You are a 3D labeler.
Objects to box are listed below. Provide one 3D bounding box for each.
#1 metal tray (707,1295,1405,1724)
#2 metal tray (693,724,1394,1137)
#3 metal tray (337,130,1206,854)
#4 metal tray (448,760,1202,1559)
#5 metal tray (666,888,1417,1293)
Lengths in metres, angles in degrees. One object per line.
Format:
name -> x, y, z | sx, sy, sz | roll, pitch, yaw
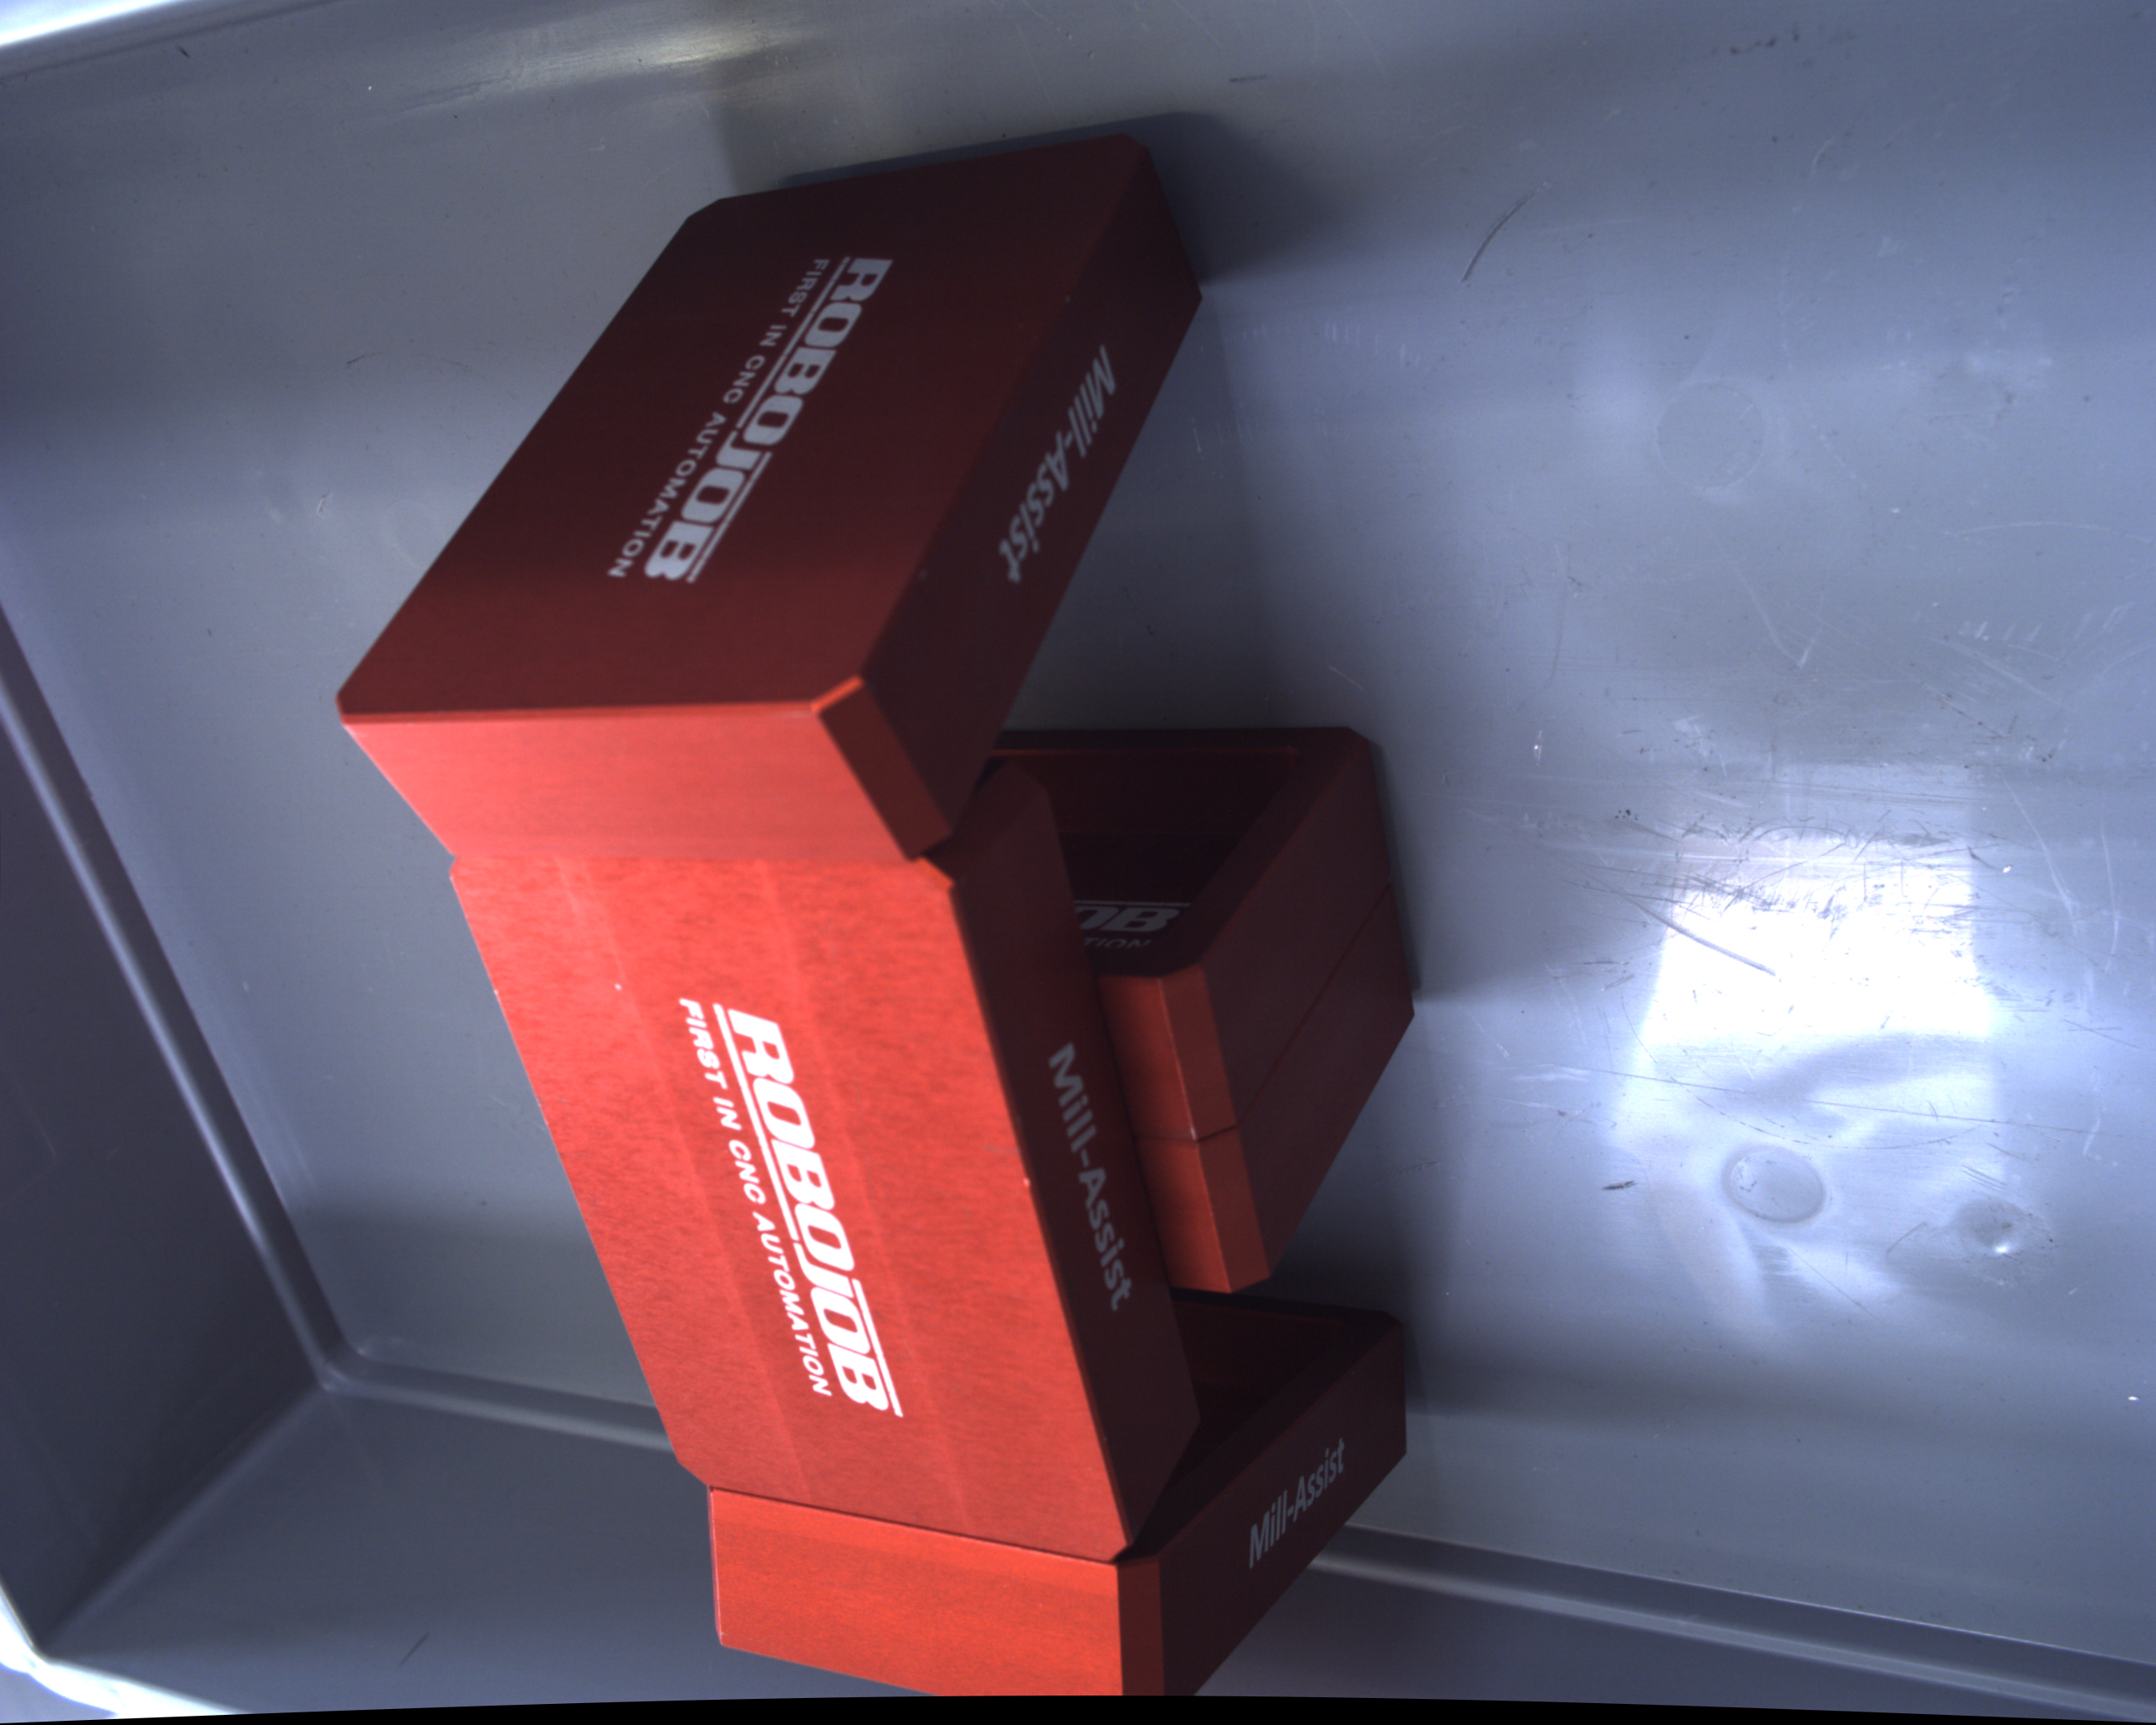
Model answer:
metal tray -> 0.001, 0.119, 0.410 | 0.090, 0.131, 0.030 | 0, 97, 27
metal tray -> -0.019, 0.008, 0.380 | 0.130, 0.090, 0.030 | 1, 119, 27
metal tray -> -0.043, -0.060, 0.324 | 0.090, 0.130, 0.030 | 1, 139, 27
metal tray -> -0.038, 0.048, 0.336 | 0.090, 0.030, 0.129 | 0, 119, 27
metal tray -> -0.012, 0.035, 0.394 | 0.130, 0.090, 0.030 | 1, 119, 27
